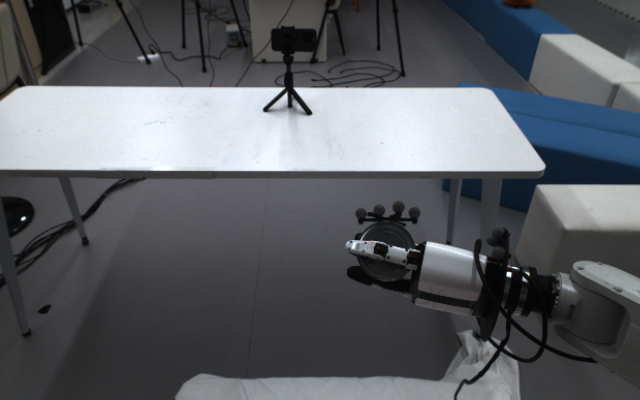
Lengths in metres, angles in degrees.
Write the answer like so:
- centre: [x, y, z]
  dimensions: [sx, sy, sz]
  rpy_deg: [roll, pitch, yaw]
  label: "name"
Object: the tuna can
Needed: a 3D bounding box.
- centre: [0.099, 0.075, 0.709]
  dimensions: [0.085, 0.034, 0.085]
  rpy_deg: [-5, 73, 15]
  label: "tuna can"
